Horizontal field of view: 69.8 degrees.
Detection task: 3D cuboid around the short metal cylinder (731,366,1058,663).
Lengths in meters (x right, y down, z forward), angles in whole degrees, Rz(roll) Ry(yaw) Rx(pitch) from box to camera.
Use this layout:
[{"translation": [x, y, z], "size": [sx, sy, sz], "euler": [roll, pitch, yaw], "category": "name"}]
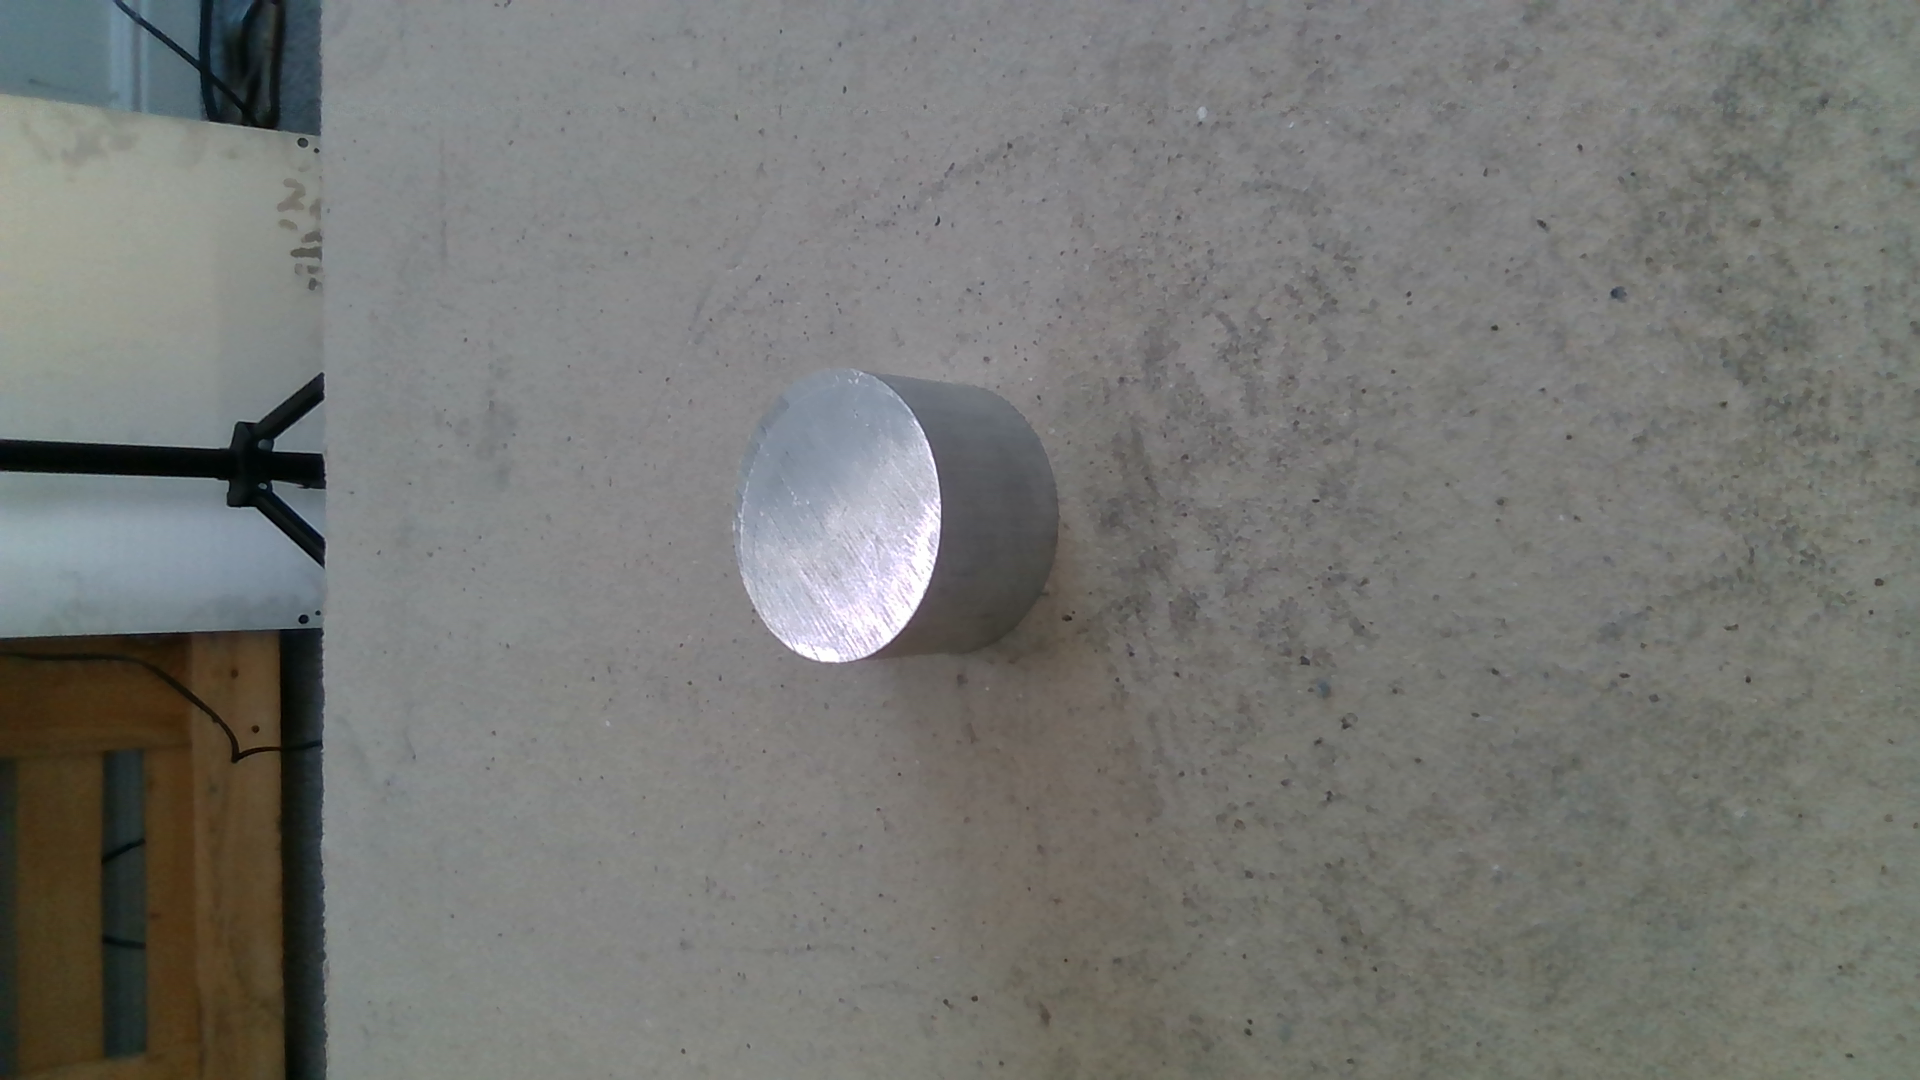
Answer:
[{"translation": [-0.019, -0.007, 0.391], "size": [0.080, 0.050, 0.080], "euler": [1, 92, 40], "category": "short metal cylinder"}]
